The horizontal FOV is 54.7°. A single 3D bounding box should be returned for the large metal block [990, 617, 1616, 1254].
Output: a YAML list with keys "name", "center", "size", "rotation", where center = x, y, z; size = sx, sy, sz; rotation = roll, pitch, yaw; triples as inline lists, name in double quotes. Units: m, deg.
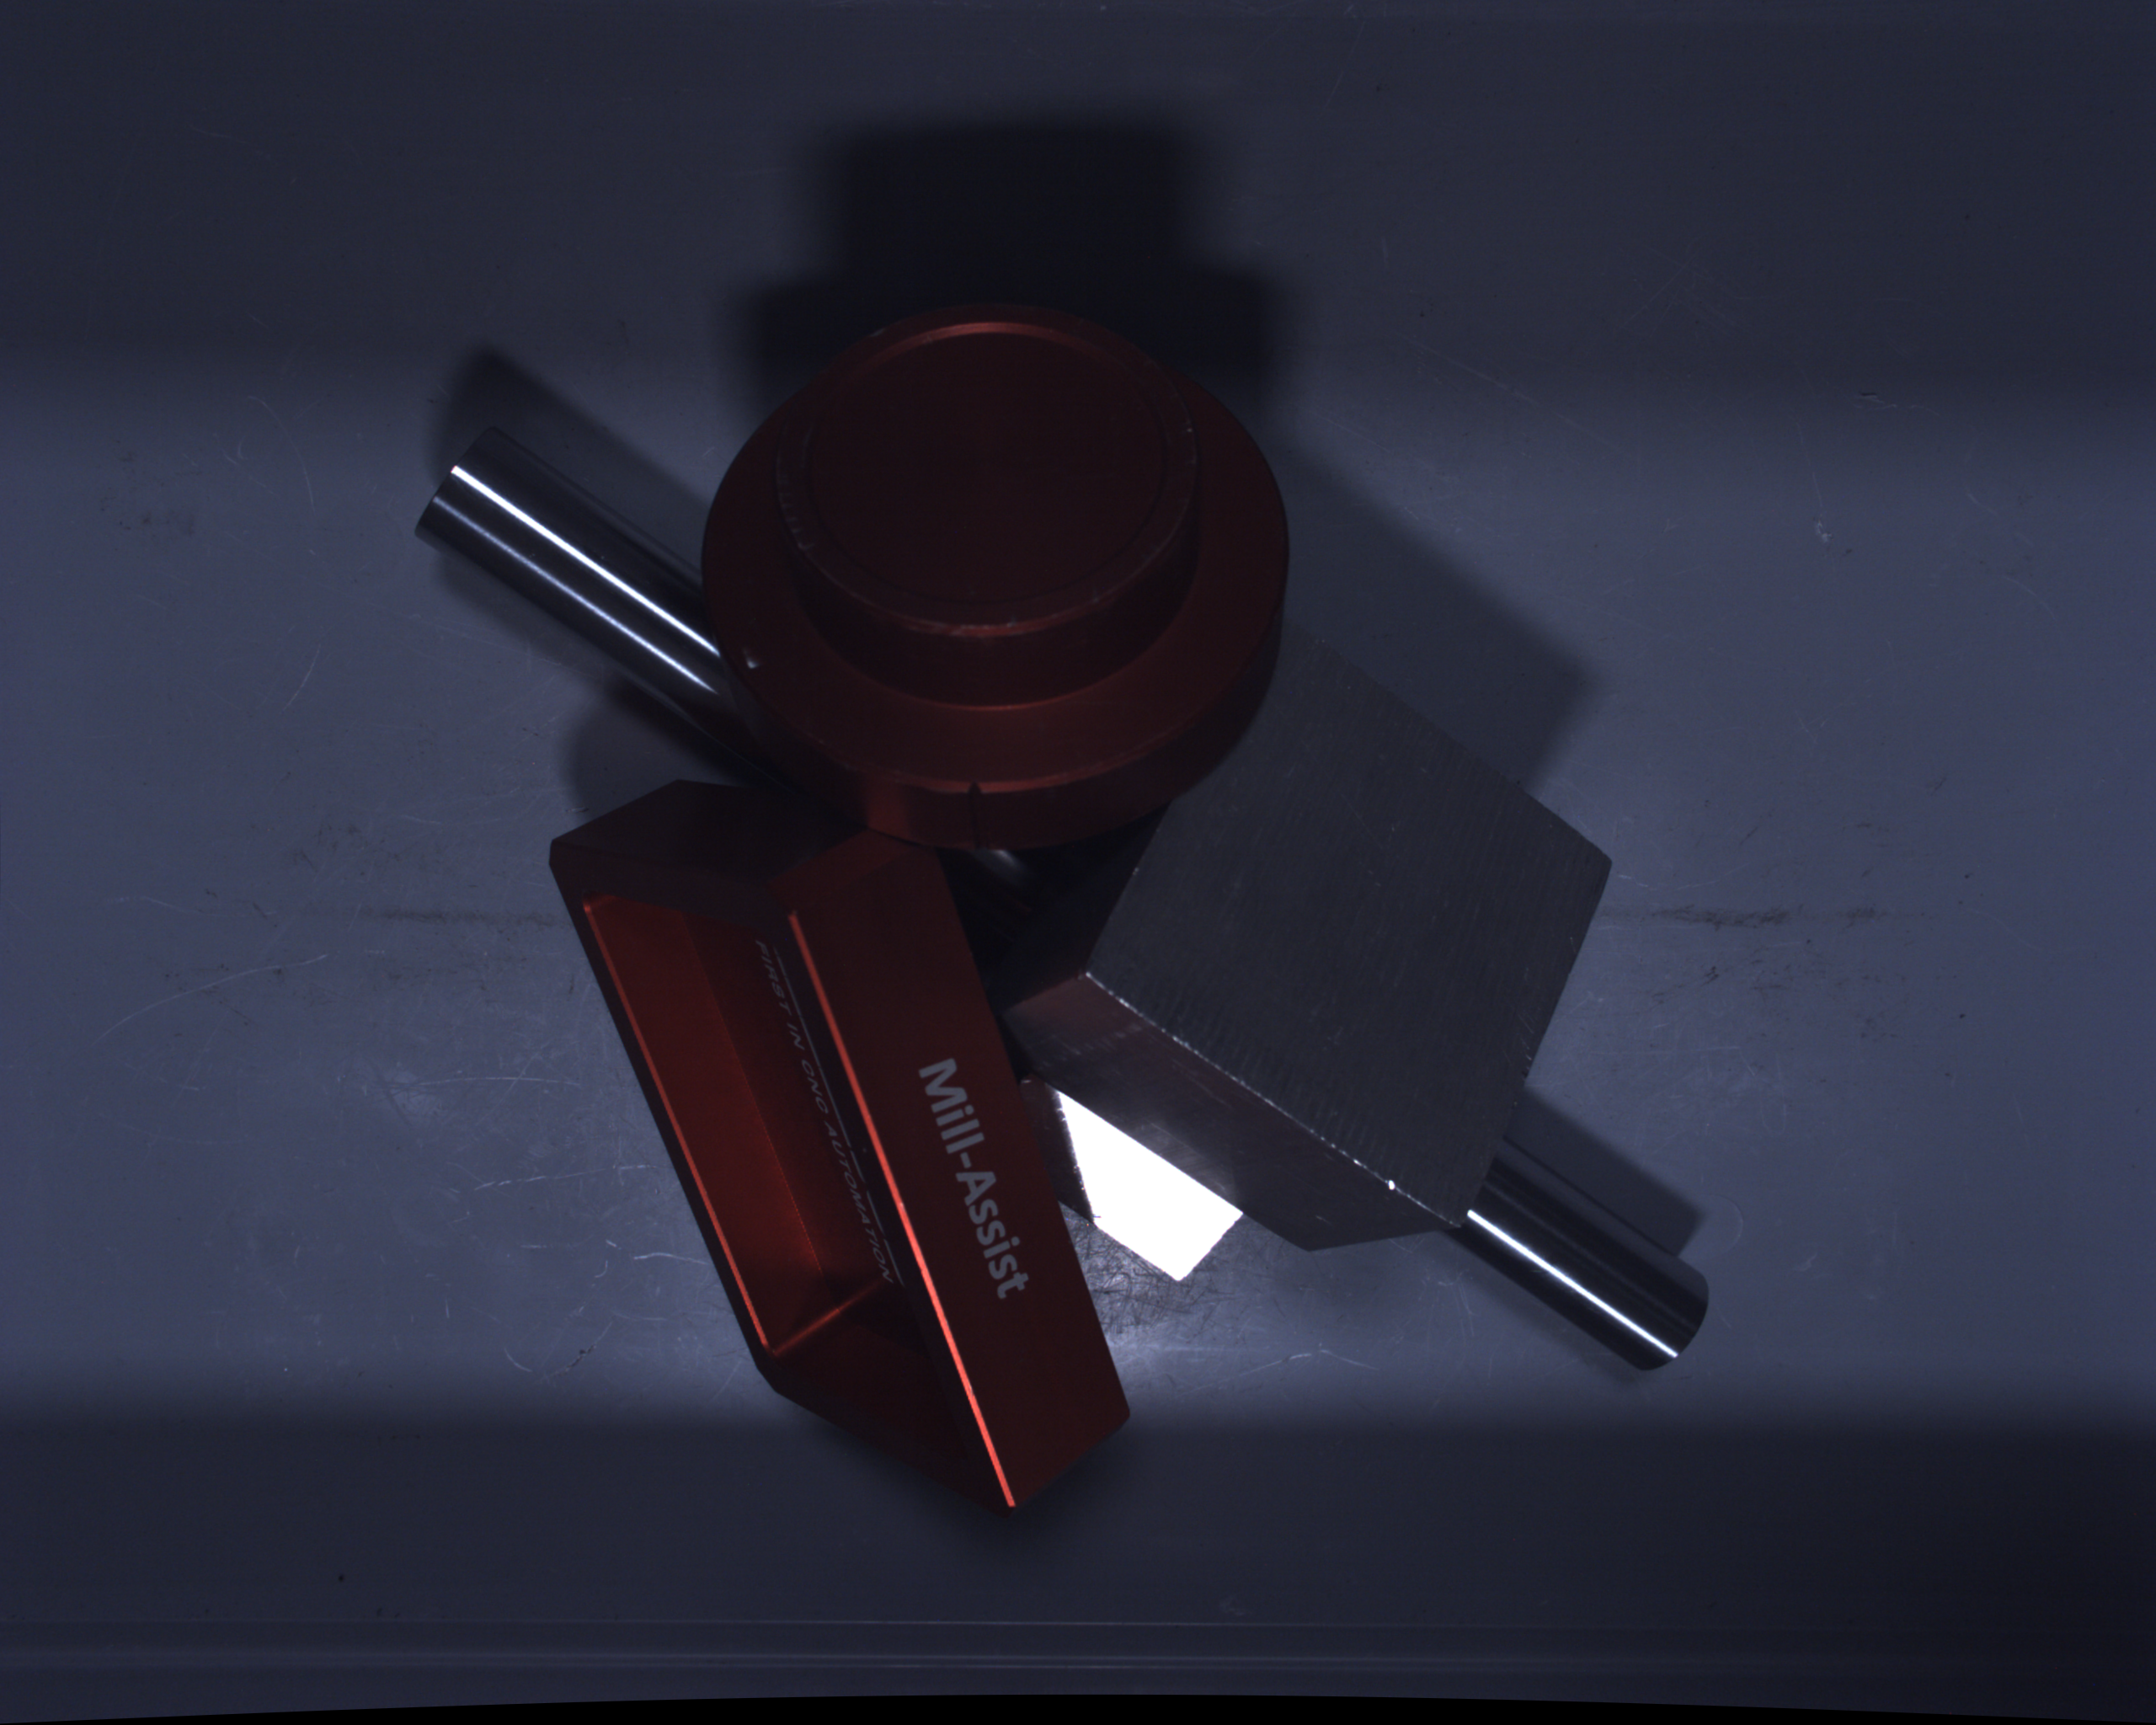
- name: "large metal block"
  center: [0.039, 0.014, 0.381]
  size: [0.080, 0.050, 0.080]
  rotation: [35, 63, -12]

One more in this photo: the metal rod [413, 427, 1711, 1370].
- name: "metal rod"
  center: [0.006, 0.014, 0.415]
  size: [0.301, 0.025, 0.025]
  rotation: [35, 106, -13]

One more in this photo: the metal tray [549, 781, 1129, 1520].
- name: "metal tray"
  center: [-0.046, 0.052, 0.395]
  size: [0.030, 0.090, 0.129]
  rotation: [-31, 113, -33]

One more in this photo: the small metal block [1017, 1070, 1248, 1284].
- name: "small metal block"
  center: [0.008, 0.049, 0.414]
  size: [0.050, 0.050, 0.025]
  rotation: [36, 106, -13]

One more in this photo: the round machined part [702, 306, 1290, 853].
- name: "round machined part"
  center: [-0.014, -0.054, 0.349]
  size: [0.099, 0.098, 0.042]
  rotation: [-2, 151, 0]
